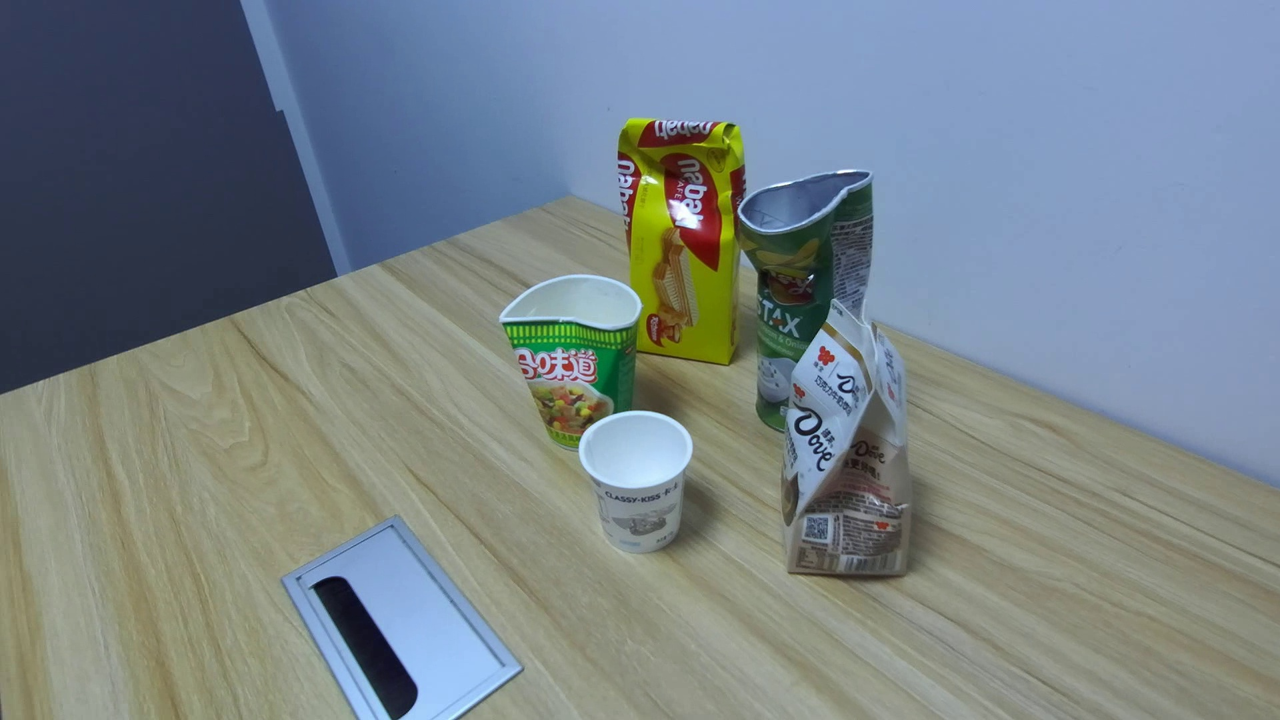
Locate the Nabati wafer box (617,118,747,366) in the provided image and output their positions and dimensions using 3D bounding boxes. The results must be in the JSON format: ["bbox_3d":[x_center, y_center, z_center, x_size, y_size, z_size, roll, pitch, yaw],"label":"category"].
[{"bbox_3d":[0.036,-0.094,0.590,0.113,0.205,0.042,7,34,20],"label":"Nabati wafer box"}]

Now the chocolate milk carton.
[{"bbox_3d":[0.124,0.049,0.416,0.073,0.155,0.084,1,34,6],"label":"chocolate milk carton"}]

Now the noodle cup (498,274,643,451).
[{"bbox_3d":[-0.040,0.005,0.536,0.093,0.109,0.087,18,40,30],"label":"noodle cup"}]

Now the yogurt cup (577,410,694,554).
[{"bbox_3d":[0.000,0.082,0.457,0.072,0.068,0.072,-3,35,2],"label":"yogurt cup"}]

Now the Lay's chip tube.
[{"bbox_3d":[0.115,-0.034,0.505,0.078,0.200,0.071,16,46,29],"label":"Lay's chip tube"}]
